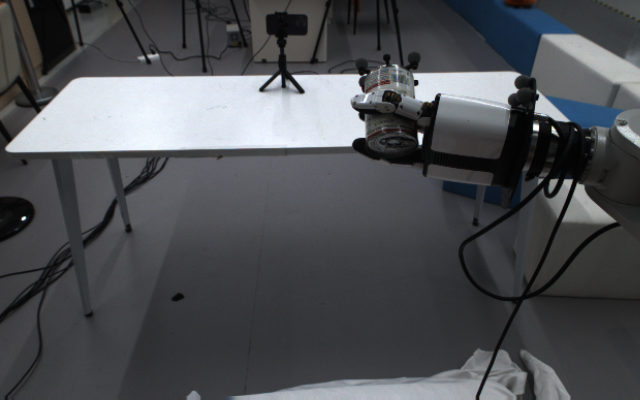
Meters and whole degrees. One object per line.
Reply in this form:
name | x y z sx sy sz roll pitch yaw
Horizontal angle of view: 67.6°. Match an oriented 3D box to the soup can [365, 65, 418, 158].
soup can | 0.092 -0.115 0.628 0.067 0.067 0.101 2 68 -1
